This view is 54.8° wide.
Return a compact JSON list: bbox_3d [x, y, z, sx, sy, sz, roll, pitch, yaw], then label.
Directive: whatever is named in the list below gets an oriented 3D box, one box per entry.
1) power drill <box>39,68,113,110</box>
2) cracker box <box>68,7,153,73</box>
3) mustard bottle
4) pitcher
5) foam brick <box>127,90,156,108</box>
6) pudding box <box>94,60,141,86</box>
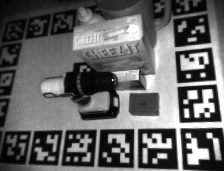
[{"bbox_3d":[-0.066,0.011,0.543,0.183,0.189,0.057,-6,68,16],"label":"power drill"},{"bbox_3d":[0.008,-0.095,0.571,0.163,0.216,0.072,-7,69,19],"label":"cracker box"},{"bbox_3d":[-0.070,-0.183,0.630,0.095,0.193,0.058,9,77,21],"label":"mustard bottle"},{"bbox_3d":[0.053,-0.197,0.583,0.187,0.245,0.133,1,73,21],"label":"pitcher"},{"bbox_3d":[0.079,0.035,0.602,0.077,0.052,0.052,-2,74,17],"label":"foam brick"},{"bbox_3d":[0.016,-0.032,0.607,0.113,0.091,0.038,-5,70,20],"label":"pudding box"}]
